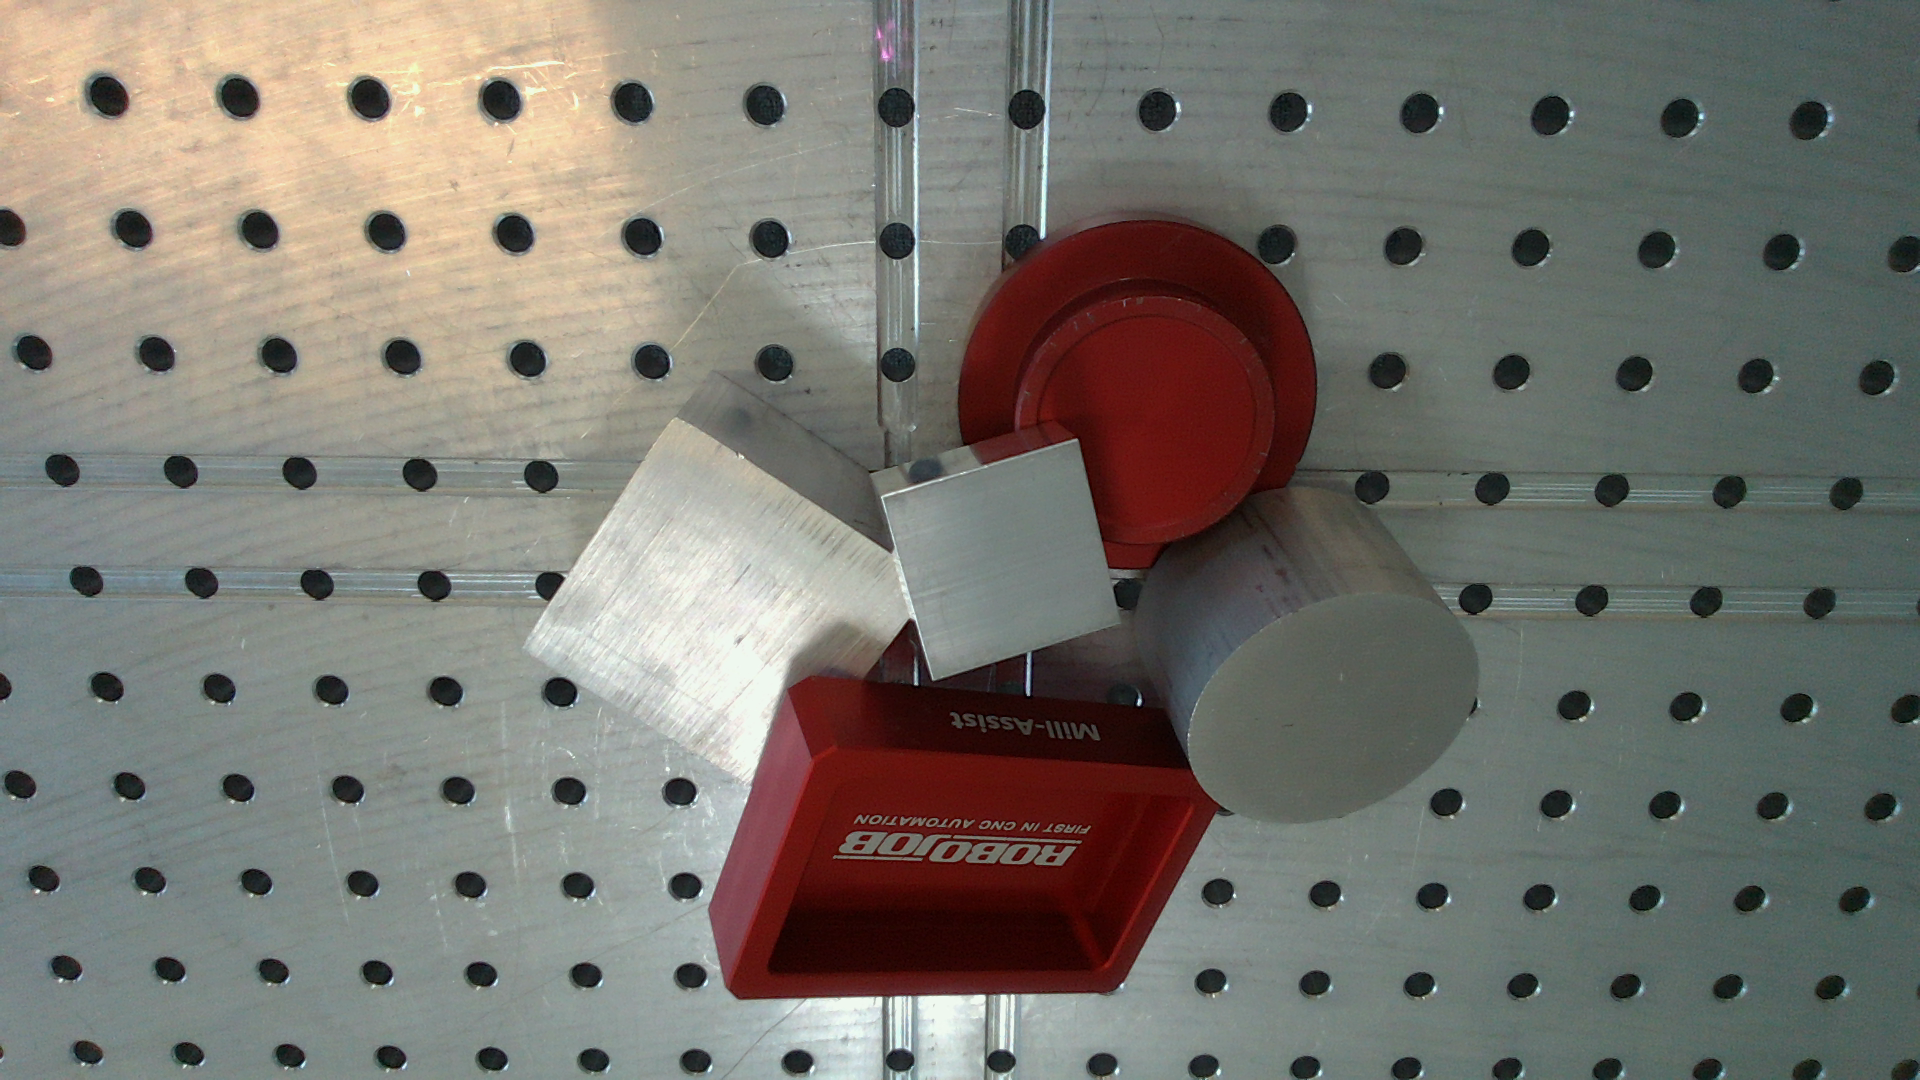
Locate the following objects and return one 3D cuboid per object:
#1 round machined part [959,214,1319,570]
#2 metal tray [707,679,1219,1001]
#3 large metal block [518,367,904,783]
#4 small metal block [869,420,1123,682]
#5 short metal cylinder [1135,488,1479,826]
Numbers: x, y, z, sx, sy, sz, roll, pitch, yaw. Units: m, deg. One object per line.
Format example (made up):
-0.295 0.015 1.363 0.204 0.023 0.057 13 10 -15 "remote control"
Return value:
0.049 -0.037 0.374 0.098 0.042 0.098 0 110 0 "round machined part"
0.003 0.089 0.396 0.130 0.030 0.090 8 119 -27 "metal tray"
-0.062 0.012 0.387 0.080 0.050 0.080 34 107 -12 "large metal block"
0.009 0.002 0.348 0.050 0.025 0.050 -16 107 -6 "small metal block"
0.095 0.033 0.383 0.080 0.050 0.080 -6 125 -9 "short metal cylinder"
